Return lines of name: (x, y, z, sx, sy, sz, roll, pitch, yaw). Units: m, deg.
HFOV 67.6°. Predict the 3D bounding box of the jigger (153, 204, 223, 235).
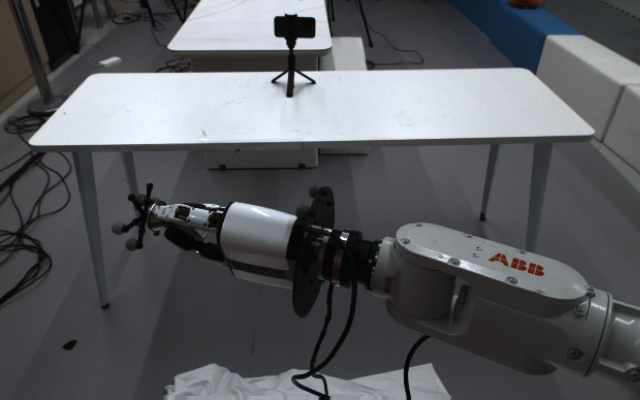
jigger: (-0.177, 0.023, 0.626, 0.071, 0.043, 0.043, 7, 35, 14)
